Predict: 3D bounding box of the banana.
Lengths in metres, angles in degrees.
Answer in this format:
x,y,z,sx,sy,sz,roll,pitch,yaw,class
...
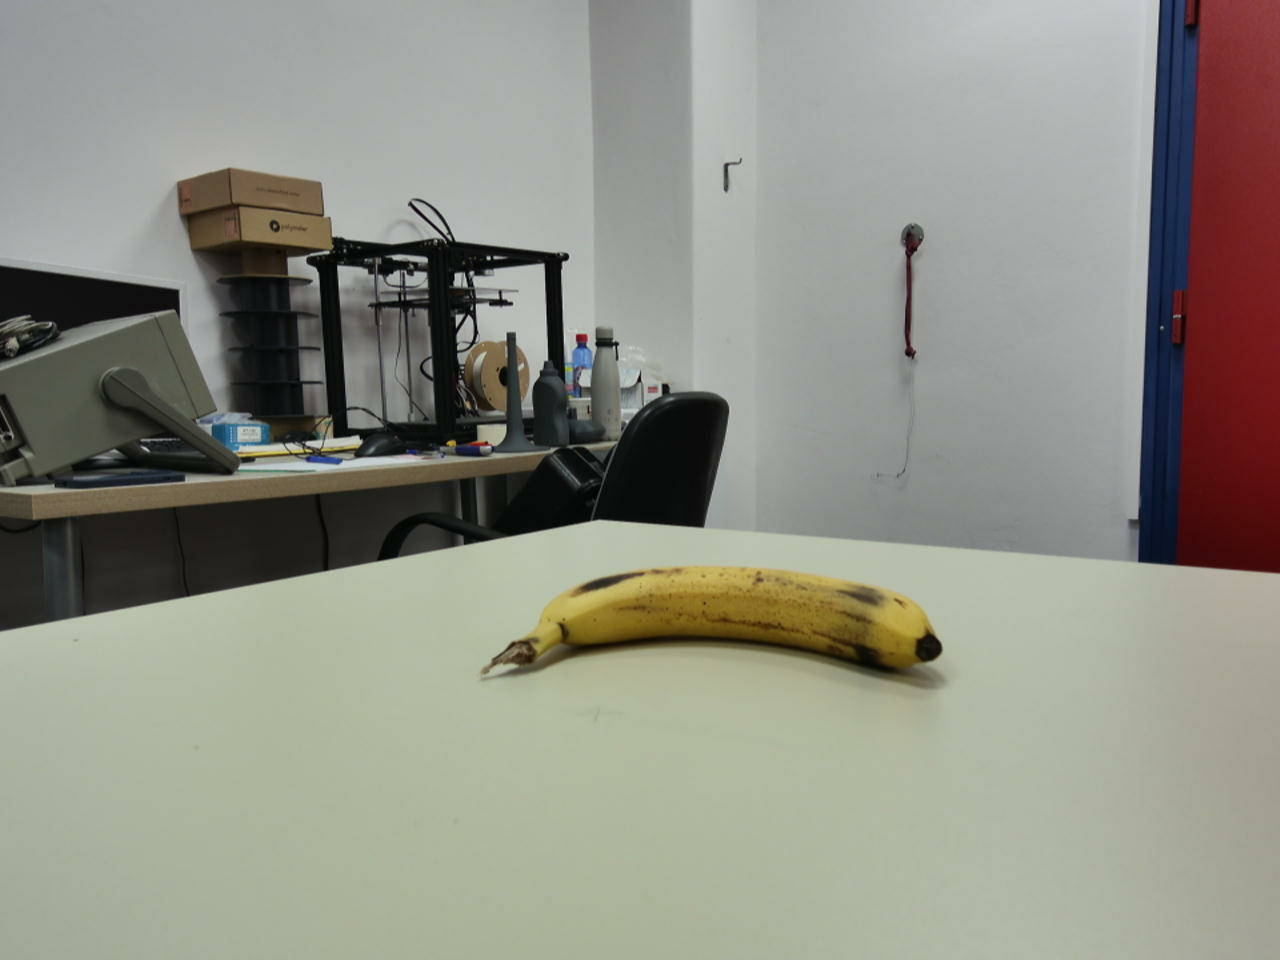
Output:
x,y,z,sx,sy,sz,roll,pitch,yaw,class
0.037,0.063,0.461,0.186,0.038,0.097,1,3,10,banana
